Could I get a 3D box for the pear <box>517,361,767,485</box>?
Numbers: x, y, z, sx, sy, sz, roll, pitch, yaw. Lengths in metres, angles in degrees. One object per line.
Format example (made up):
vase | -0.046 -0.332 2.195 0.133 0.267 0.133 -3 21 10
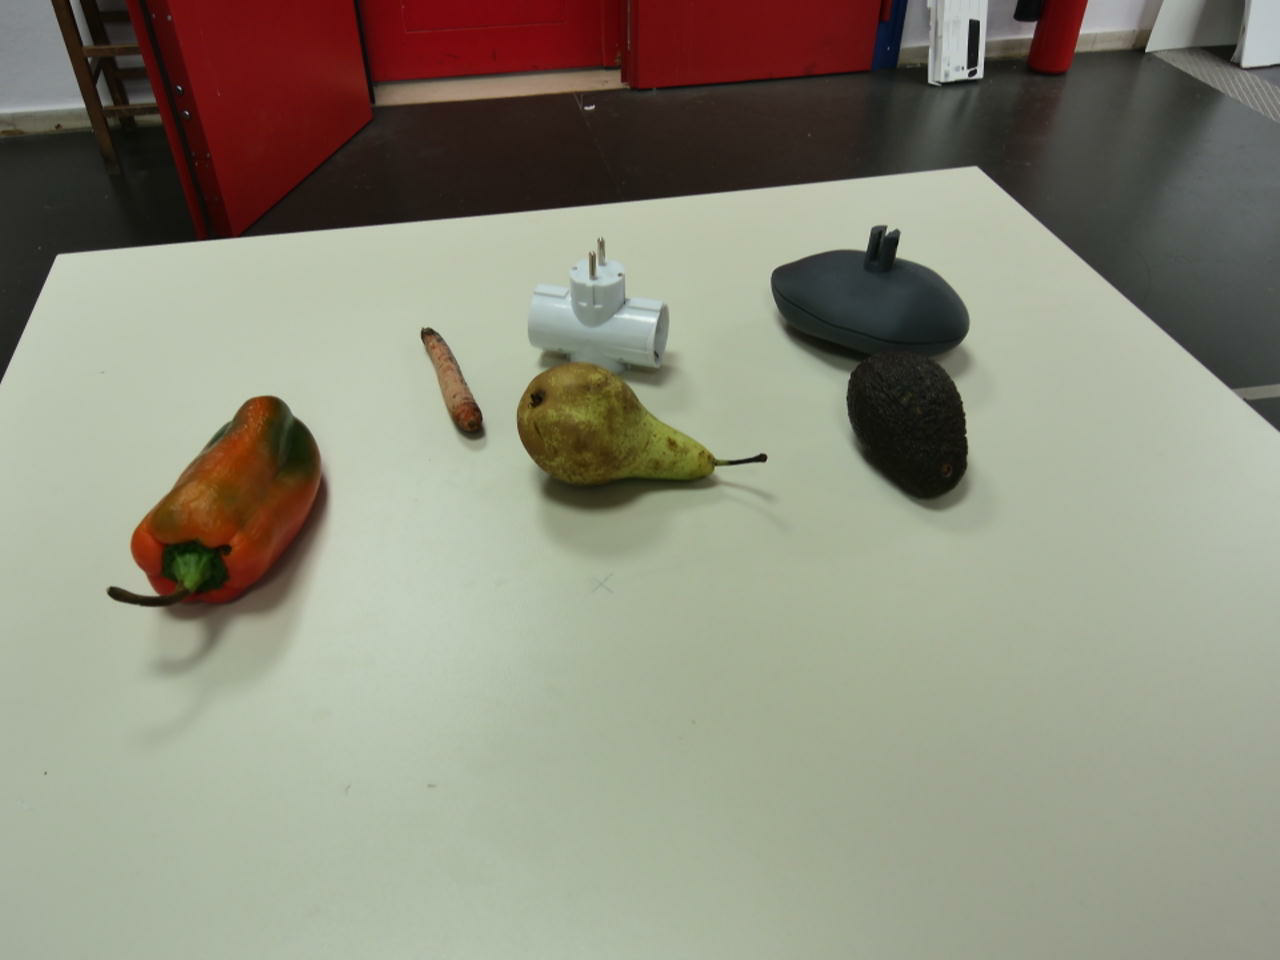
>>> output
pear | -0.001 -0.036 0.594 0.144 0.075 0.071 -4 39 -4
